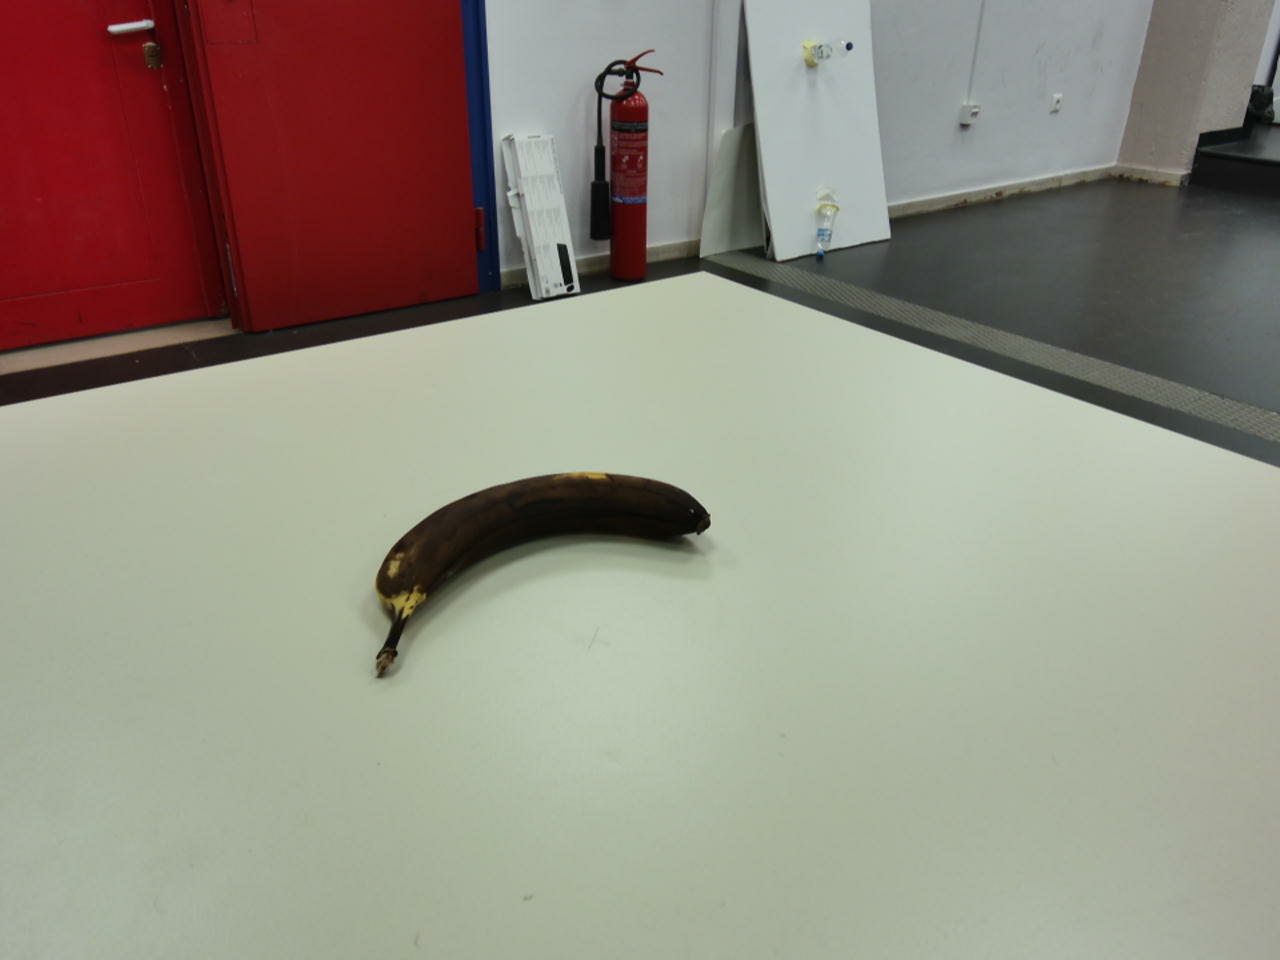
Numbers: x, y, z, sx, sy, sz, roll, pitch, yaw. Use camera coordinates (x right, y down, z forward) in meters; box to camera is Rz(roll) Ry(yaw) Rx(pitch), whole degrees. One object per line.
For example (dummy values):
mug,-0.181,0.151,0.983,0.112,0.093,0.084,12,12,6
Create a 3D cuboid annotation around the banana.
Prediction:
banana,-0.060,0.029,0.496,0.188,0.034,0.091,-18,30,-33
